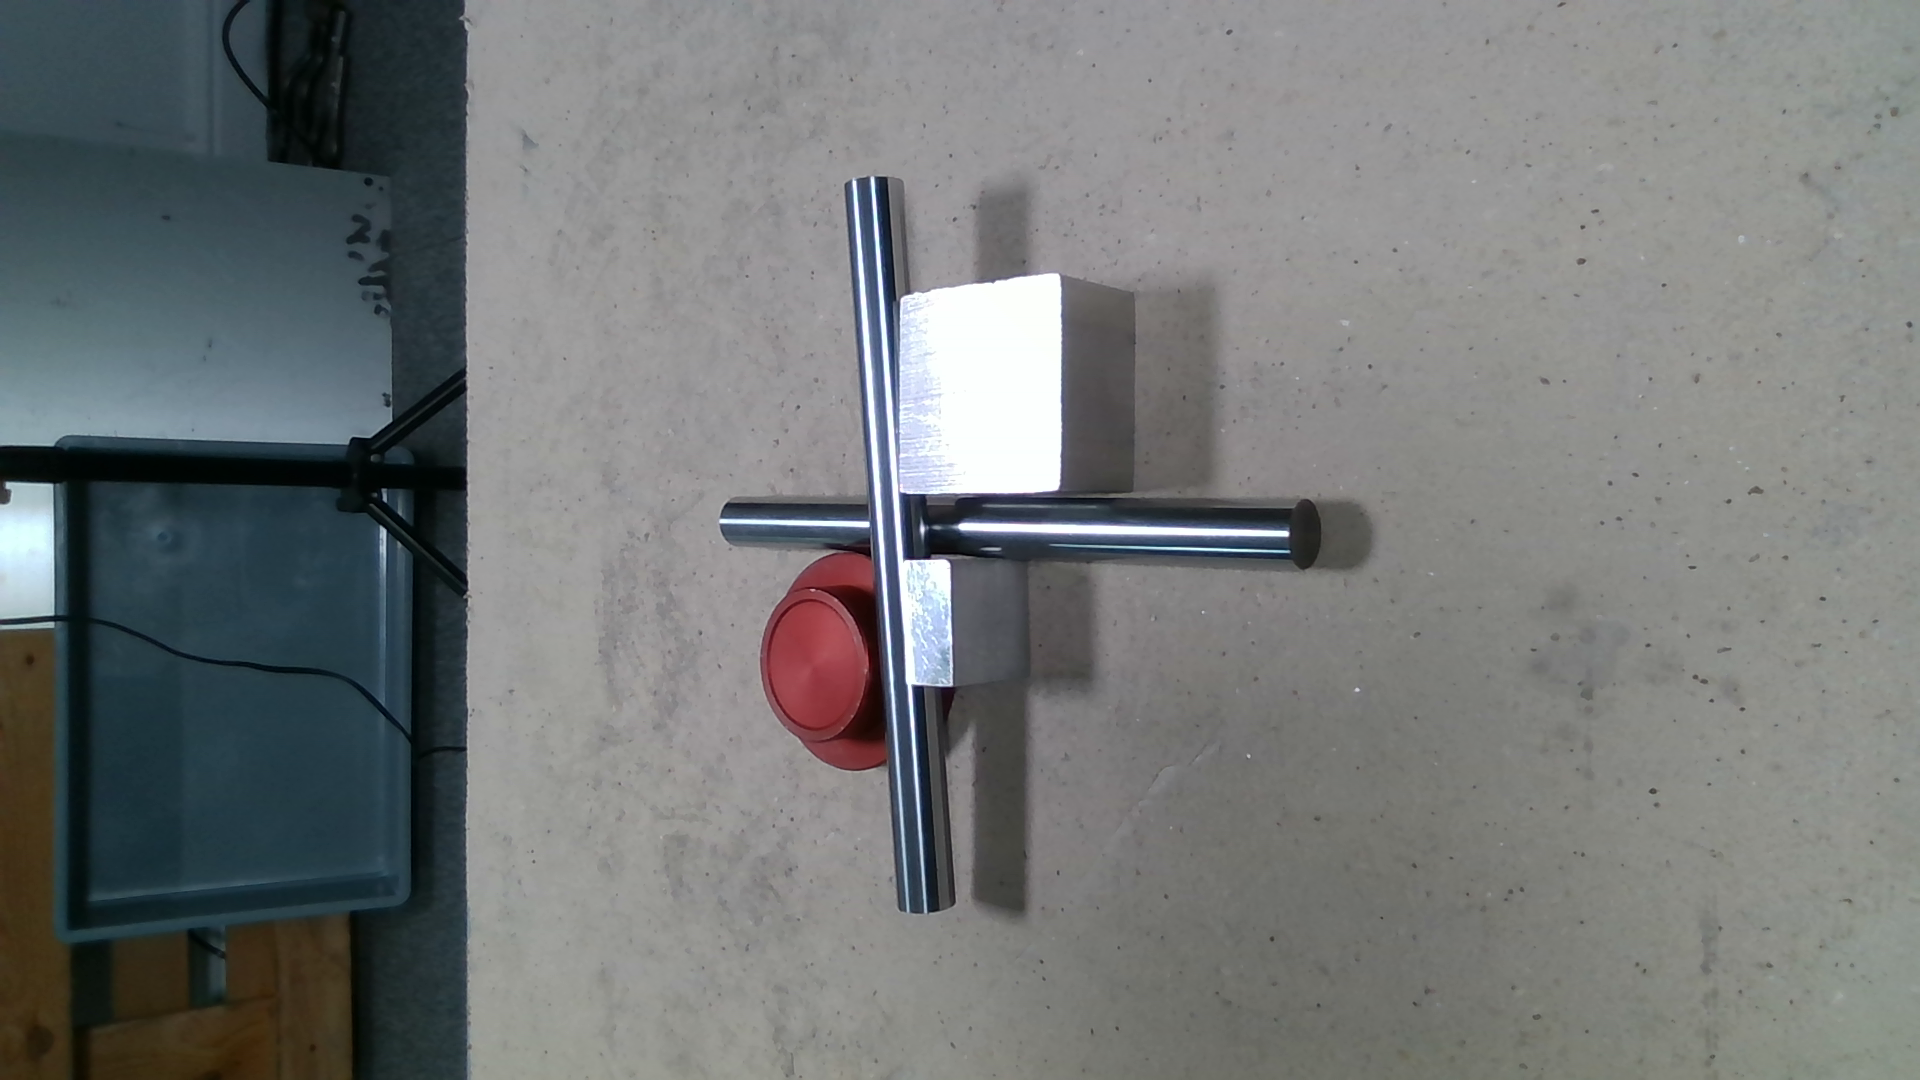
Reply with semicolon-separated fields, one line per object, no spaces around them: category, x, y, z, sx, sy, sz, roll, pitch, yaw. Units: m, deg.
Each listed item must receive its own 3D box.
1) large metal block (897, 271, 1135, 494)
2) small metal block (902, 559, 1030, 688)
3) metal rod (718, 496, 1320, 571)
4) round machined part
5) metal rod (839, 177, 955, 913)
large metal block;0.021;-0.059;0.546;0.080;0.050;0.080;1;91;40
small metal block;0.003;0.033;0.564;0.025;0.050;0.050;-2;89;40
metal rod;0.006;-0.005;0.577;0.300;0.025;0.025;2;92;40
round machined part;-0.053;0.054;0.615;0.098;0.042;0.098;0;91;40
metal rod;-0.026;0.003;0.572;0.025;0.025;0.300;-2;93;40
